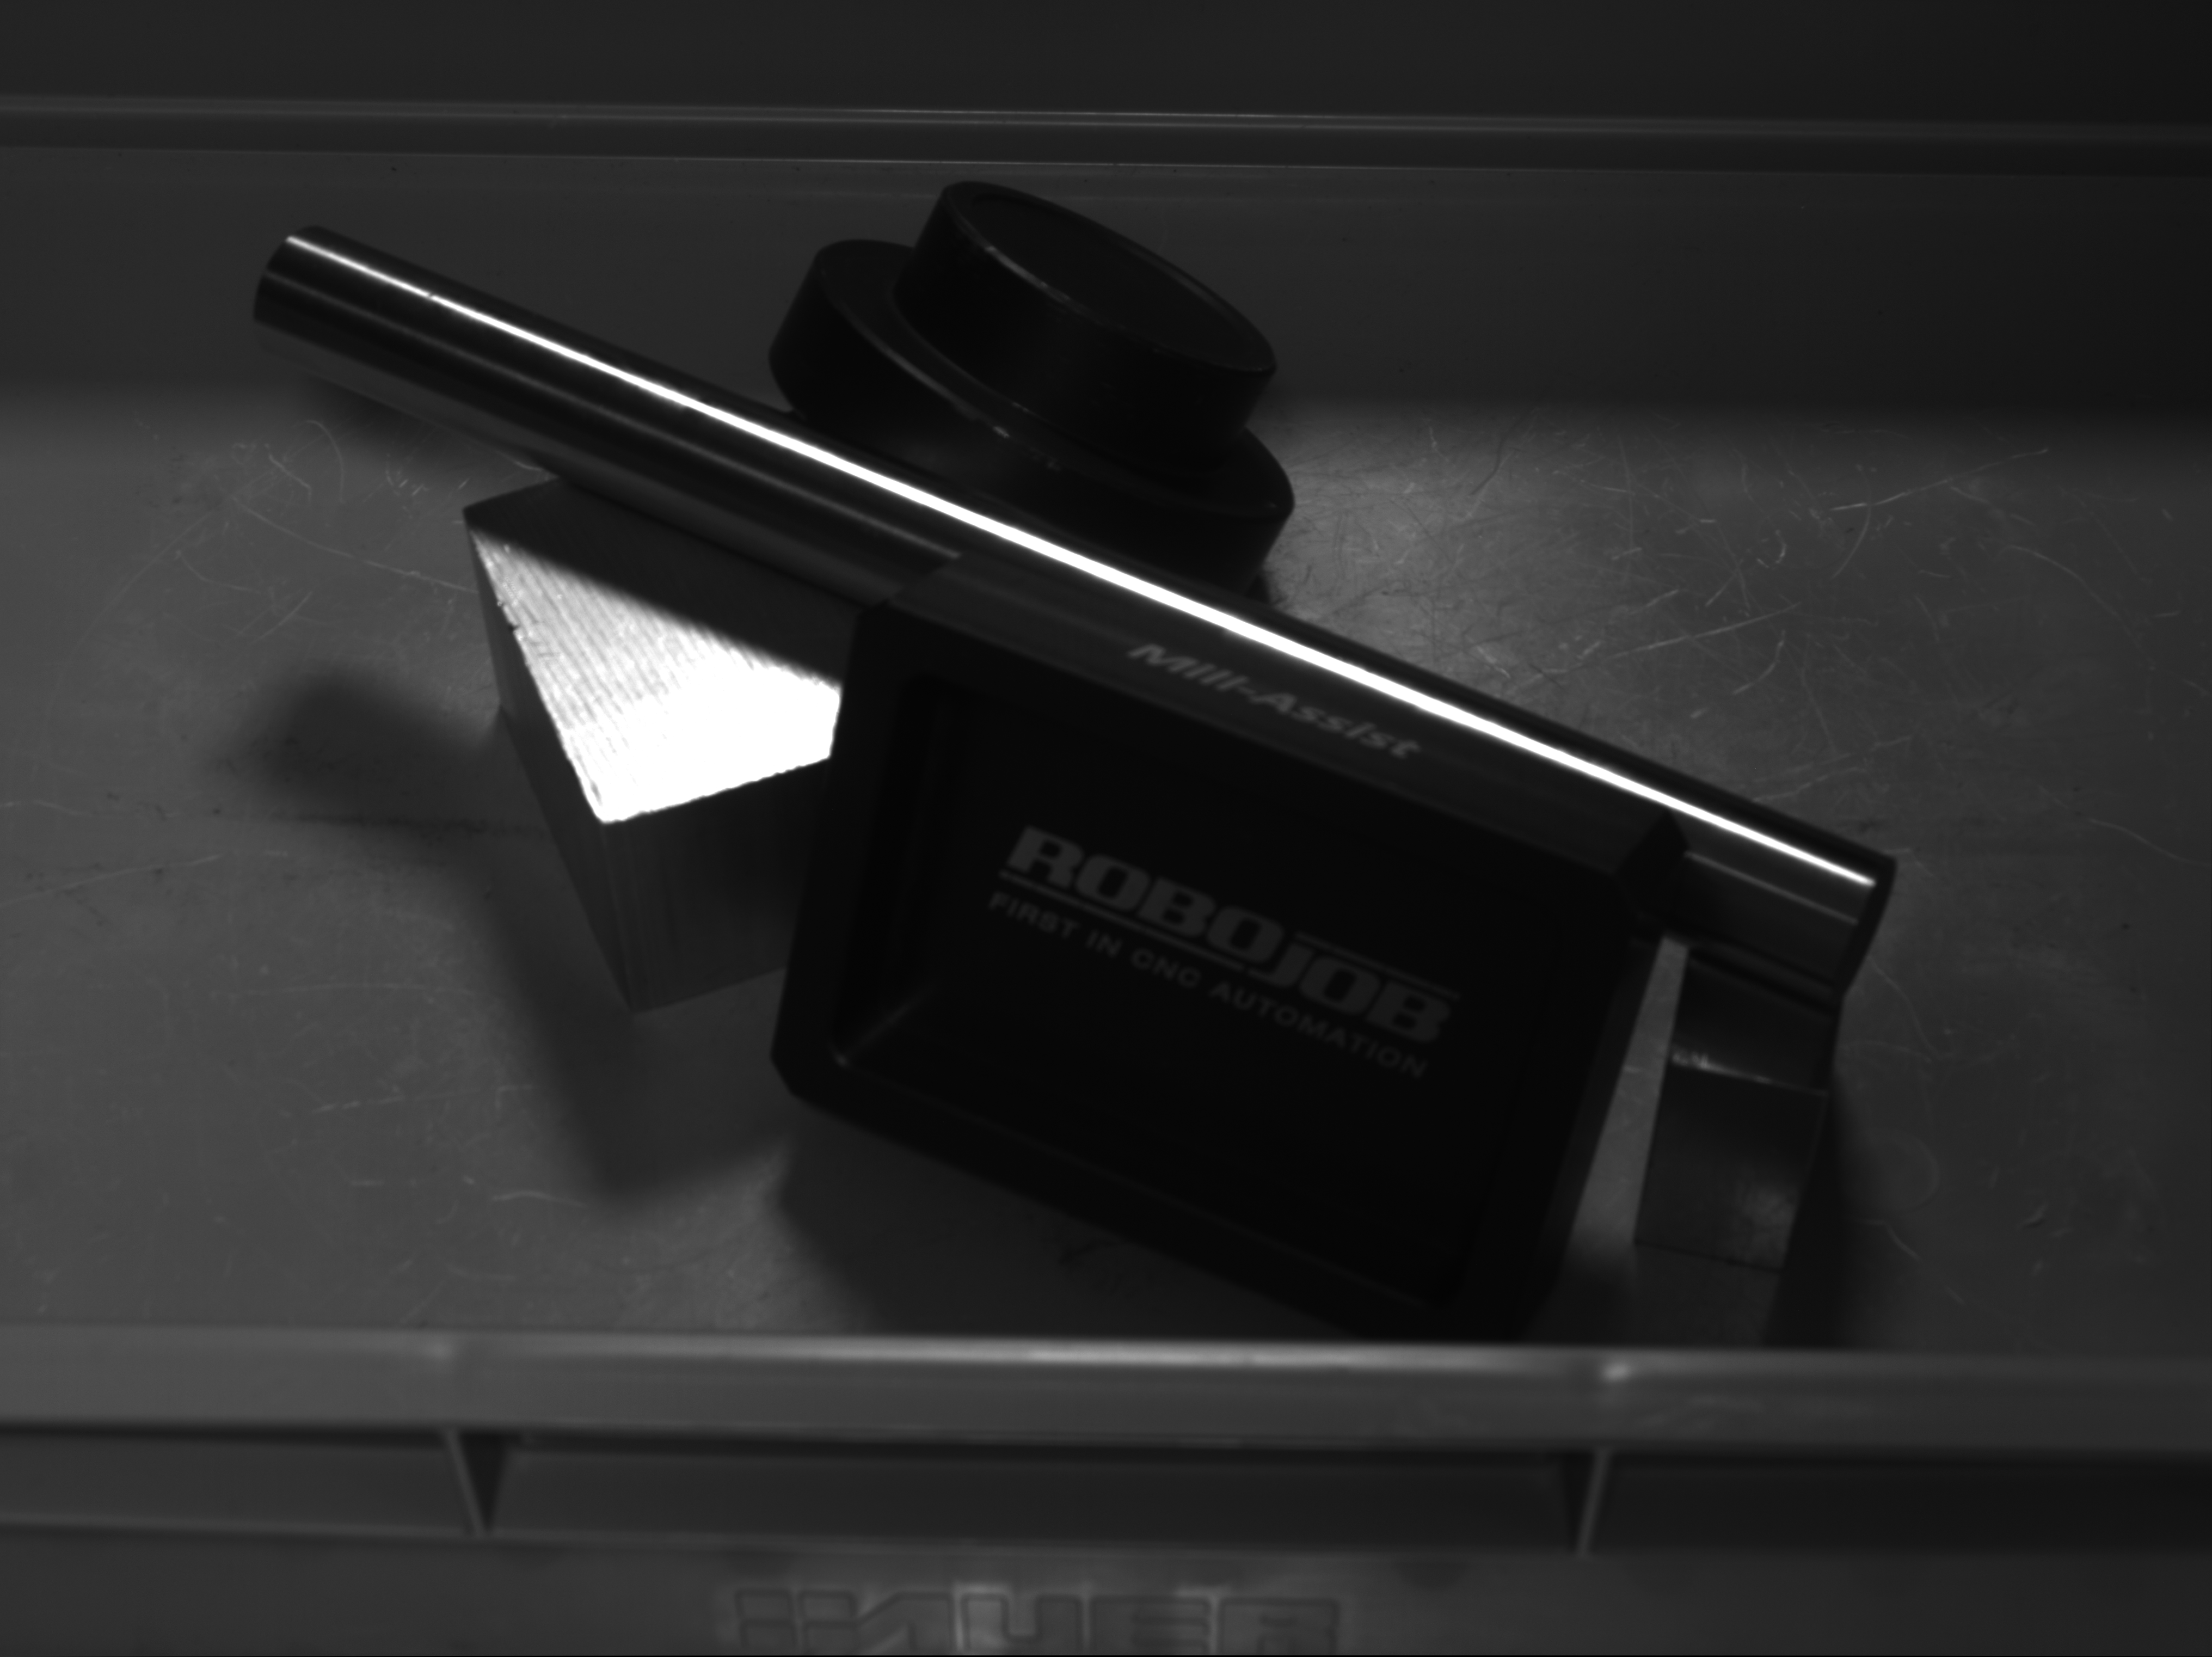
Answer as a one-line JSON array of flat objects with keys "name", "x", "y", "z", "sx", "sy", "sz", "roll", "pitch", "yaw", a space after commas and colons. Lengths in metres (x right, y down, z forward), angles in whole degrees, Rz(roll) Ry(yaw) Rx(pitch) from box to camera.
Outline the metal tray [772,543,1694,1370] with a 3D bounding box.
[{"name": "metal tray", "x": 0.017, "y": 0.019, "z": 0.578, "sx": 0.130, "sy": 0.090, "sz": 0.030, "roll": 21, "pitch": 26, "yaw": 17}]

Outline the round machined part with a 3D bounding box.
[{"name": "round machined part", "x": -0.008, "y": -0.083, "z": 0.666, "sx": 0.098, "sy": 0.042, "sz": 0.098, "roll": 26, "pitch": 20, "yaw": -10}]

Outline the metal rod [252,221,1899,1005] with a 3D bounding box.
[{"name": "metal rod", "x": -0.014, "y": -0.041, "z": 0.608, "sx": 0.299, "sy": 0.025, "sz": 0.025, "roll": 23, "pitch": 54, "yaw": 18}]

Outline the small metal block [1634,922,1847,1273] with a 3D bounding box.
[{"name": "small metal block", "x": 0.105, "y": 0.035, "z": 0.595, "sx": 0.025, "sy": 0.050, "sz": 0.050, "roll": 11, "pitch": 51, "yaw": 10}]

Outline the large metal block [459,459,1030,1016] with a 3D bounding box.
[{"name": "large metal block", "x": -0.061, "y": -0.024, "z": 0.644, "sx": 0.080, "sy": 0.050, "sz": 0.080, "roll": -17, "pitch": 52, "yaw": -14}]
